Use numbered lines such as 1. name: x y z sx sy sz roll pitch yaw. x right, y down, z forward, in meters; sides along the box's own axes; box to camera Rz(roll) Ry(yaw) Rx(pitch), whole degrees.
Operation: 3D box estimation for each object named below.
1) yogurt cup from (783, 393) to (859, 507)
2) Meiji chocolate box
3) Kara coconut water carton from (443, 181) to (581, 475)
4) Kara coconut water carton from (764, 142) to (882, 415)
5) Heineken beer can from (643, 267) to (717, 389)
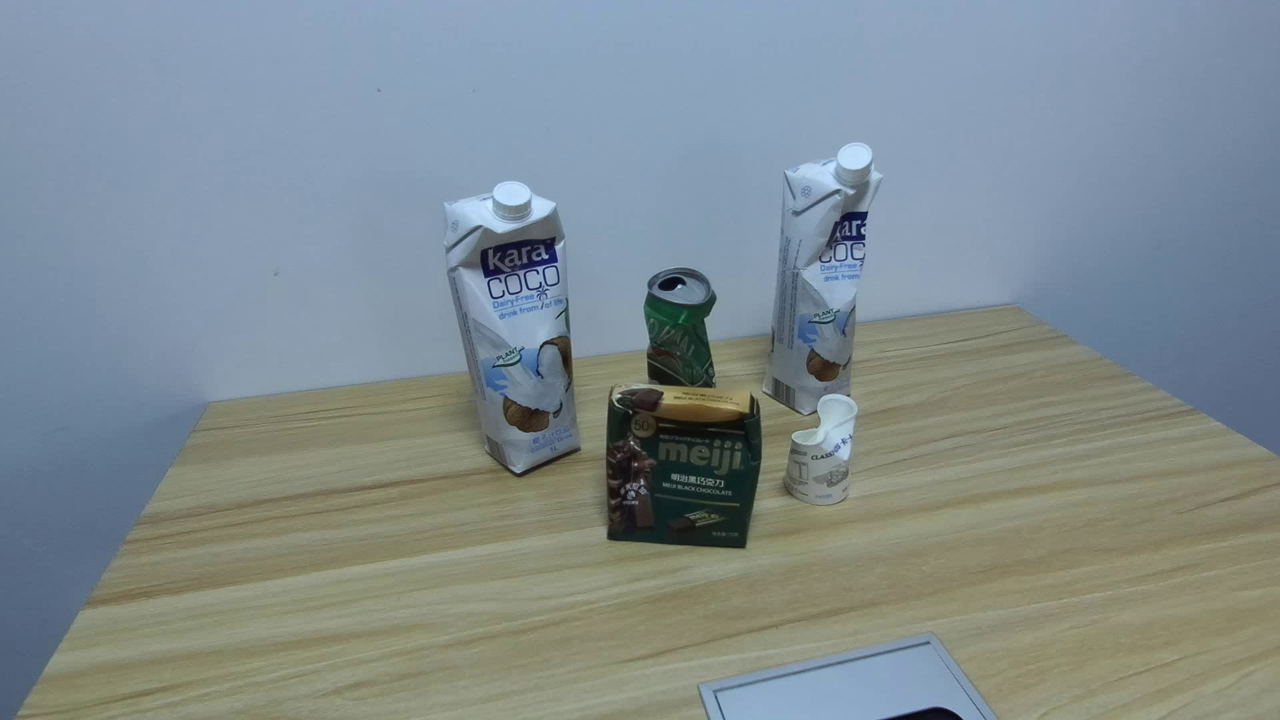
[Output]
1. yogurt cup: 0.146 0.075 0.577 0.053 0.071 0.075 2 29 8
2. Meiji chocolate box: 0.030 0.080 0.543 0.113 0.110 0.058 3 16 6
3. Kara coconut water carton: -0.103 -0.028 0.603 0.100 0.244 0.071 -24 32 -32
4. Kara coconut water carton: 0.168 -0.075 0.664 0.083 0.256 0.078 -12 31 -19
5. Heineken beer can: 0.038 -0.002 0.643 0.067 0.159 0.078 -8 31 -7
